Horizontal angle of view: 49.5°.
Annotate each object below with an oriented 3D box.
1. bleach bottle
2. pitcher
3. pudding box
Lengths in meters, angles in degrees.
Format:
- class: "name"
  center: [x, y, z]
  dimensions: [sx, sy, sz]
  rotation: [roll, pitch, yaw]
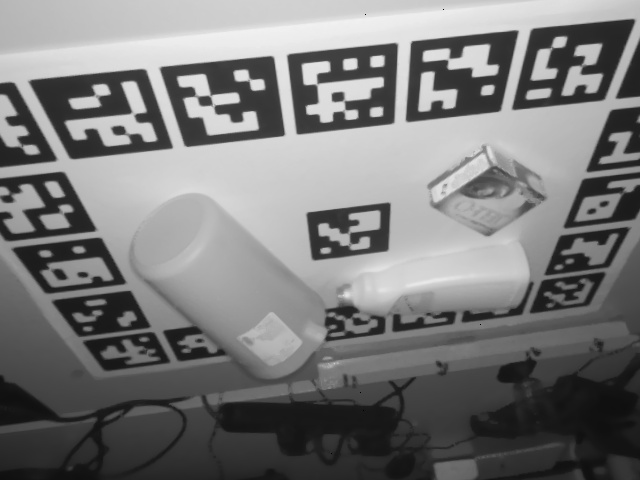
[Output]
- class: "bleach bottle"
  center: [0.146, 0.070, 0.925]
  dimensions: [0.251, 0.068, 0.102]
  rotation: [-6, 136, 1]
- class: "pitcher"
  center: [-0.117, 0.041, 0.819]
  dimensions: [0.186, 0.135, 0.243]
  rotation: [8, 148, 39]
- class: "pudding box"
  center: [0.197, -0.051, 0.800]
  dimensions: [0.115, 0.039, 0.088]
  rotation: [29, 134, -34]
